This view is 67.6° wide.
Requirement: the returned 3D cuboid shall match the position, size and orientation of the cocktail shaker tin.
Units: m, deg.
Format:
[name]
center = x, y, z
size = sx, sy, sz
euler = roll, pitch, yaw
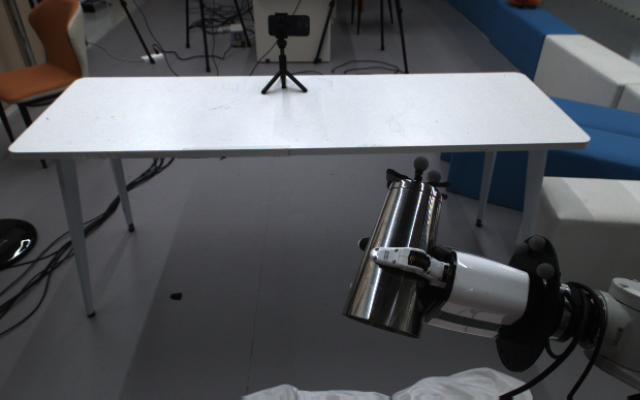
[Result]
[cocktail shaker tin]
center = 0.093, 0.066, 0.573
size = 0.093, 0.093, 0.170
euler = 14, 73, 17
